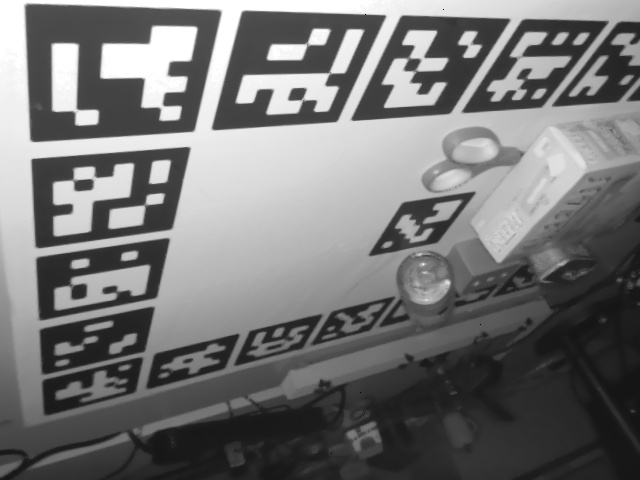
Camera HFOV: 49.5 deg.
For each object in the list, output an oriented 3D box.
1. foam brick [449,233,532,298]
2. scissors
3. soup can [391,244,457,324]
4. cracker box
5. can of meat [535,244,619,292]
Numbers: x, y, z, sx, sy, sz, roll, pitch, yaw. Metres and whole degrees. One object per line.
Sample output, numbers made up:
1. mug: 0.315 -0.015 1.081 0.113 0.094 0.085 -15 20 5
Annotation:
1. foam brick: 0.206 0.029 0.844 0.079 0.051 0.052 -12 145 -21
2. scissors: 0.206 -0.100 0.668 0.206 0.016 0.086 -9 144 -26
3. soup can: 0.125 0.054 0.821 0.068 0.068 0.102 -28 153 2
4. cracker box: 0.308 -0.064 0.733 0.217 0.072 0.162 -13 147 -28
5. can of meat: 0.306 0.014 0.859 0.103 0.084 0.057 5 136 -40
